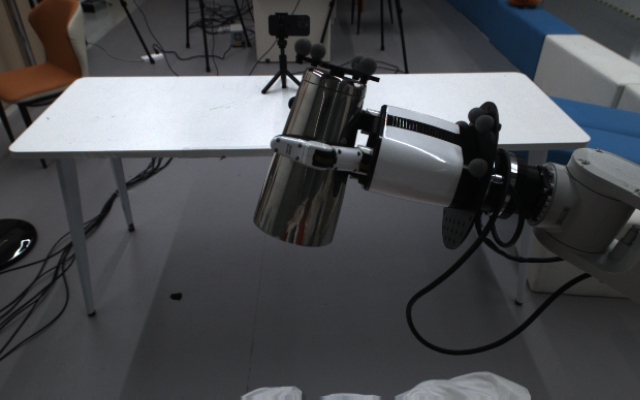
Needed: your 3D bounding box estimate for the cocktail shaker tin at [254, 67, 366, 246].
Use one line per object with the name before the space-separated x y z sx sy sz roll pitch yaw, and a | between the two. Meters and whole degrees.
cocktail shaker tin | -0.006 -0.047 0.515 0.093 0.170 0.093 15 17 -5
